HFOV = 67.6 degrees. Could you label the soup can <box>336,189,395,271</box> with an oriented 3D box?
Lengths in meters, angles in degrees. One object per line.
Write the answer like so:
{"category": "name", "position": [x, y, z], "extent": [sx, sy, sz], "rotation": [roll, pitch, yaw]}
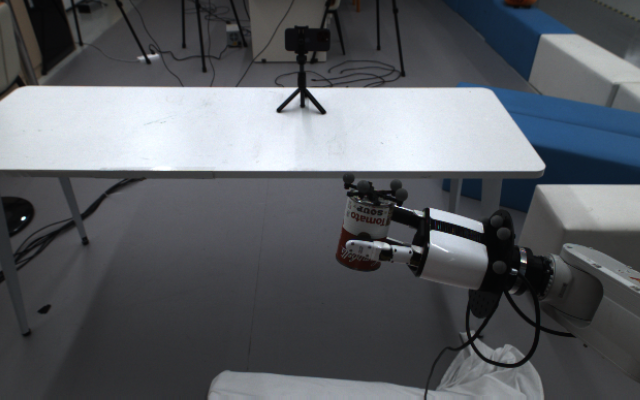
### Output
{"category": "soup can", "position": [0.066, 0.040, 0.692], "extent": [0.067, 0.101, 0.067], "rotation": [9, 20, -3]}
